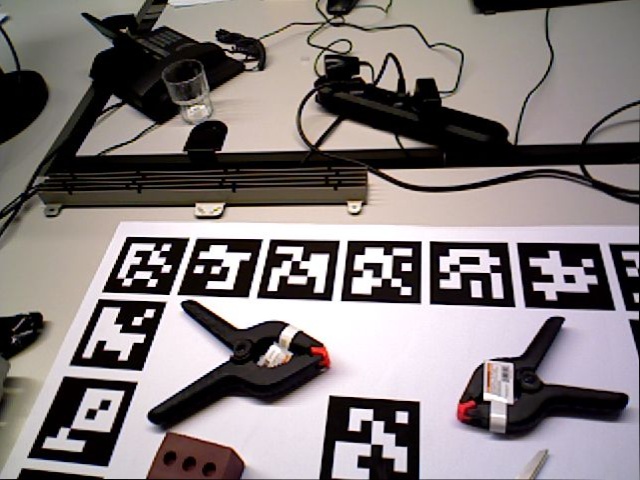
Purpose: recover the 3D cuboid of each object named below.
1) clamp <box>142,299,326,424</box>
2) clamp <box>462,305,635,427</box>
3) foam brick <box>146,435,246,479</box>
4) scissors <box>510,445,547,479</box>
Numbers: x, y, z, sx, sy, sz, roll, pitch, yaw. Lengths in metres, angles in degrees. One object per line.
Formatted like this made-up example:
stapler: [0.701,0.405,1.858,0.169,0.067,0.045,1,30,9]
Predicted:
clamp: [-0.094,0.136,0.639,0.203,0.037,0.162,-2,48,7]
clamp: [0.226,0.148,0.577,0.164,0.037,0.121,-22,58,-6]
foam brick: [-0.126,0.238,0.557,0.078,0.052,0.052,4,54,19]
scissors: [0.150,0.262,0.504,0.199,0.016,0.087,-40,63,-22]
